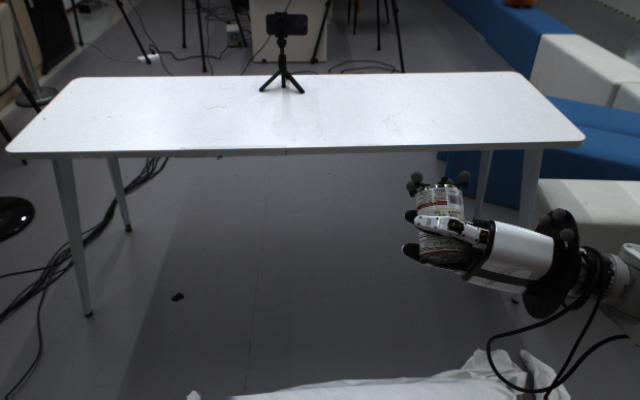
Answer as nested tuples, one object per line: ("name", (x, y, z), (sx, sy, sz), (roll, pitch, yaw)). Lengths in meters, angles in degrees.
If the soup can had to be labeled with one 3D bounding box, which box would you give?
("soup can", (0.175, 0.035, 0.695), (0.067, 0.067, 0.101), (1, 73, -2))
